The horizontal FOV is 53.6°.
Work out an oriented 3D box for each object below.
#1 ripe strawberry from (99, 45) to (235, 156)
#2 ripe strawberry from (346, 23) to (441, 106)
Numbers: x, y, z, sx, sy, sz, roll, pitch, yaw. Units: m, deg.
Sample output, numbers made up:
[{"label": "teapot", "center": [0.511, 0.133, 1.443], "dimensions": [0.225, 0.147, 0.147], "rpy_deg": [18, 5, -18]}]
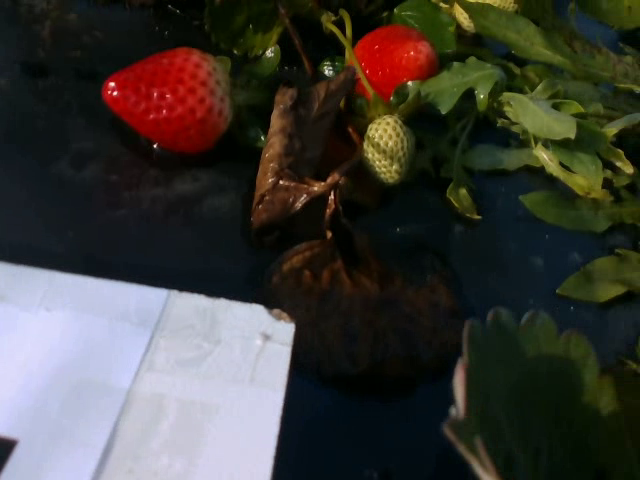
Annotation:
[{"label": "ripe strawberry", "center": [-0.045, -0.044, 0.188], "dimensions": [0.043, 0.030, 0.035], "rpy_deg": [-13, 48, -33]}, {"label": "ripe strawberry", "center": [0.031, -0.066, 0.231], "dimensions": [0.039, 0.032, 0.048], "rpy_deg": [1, 0, -14]}]
